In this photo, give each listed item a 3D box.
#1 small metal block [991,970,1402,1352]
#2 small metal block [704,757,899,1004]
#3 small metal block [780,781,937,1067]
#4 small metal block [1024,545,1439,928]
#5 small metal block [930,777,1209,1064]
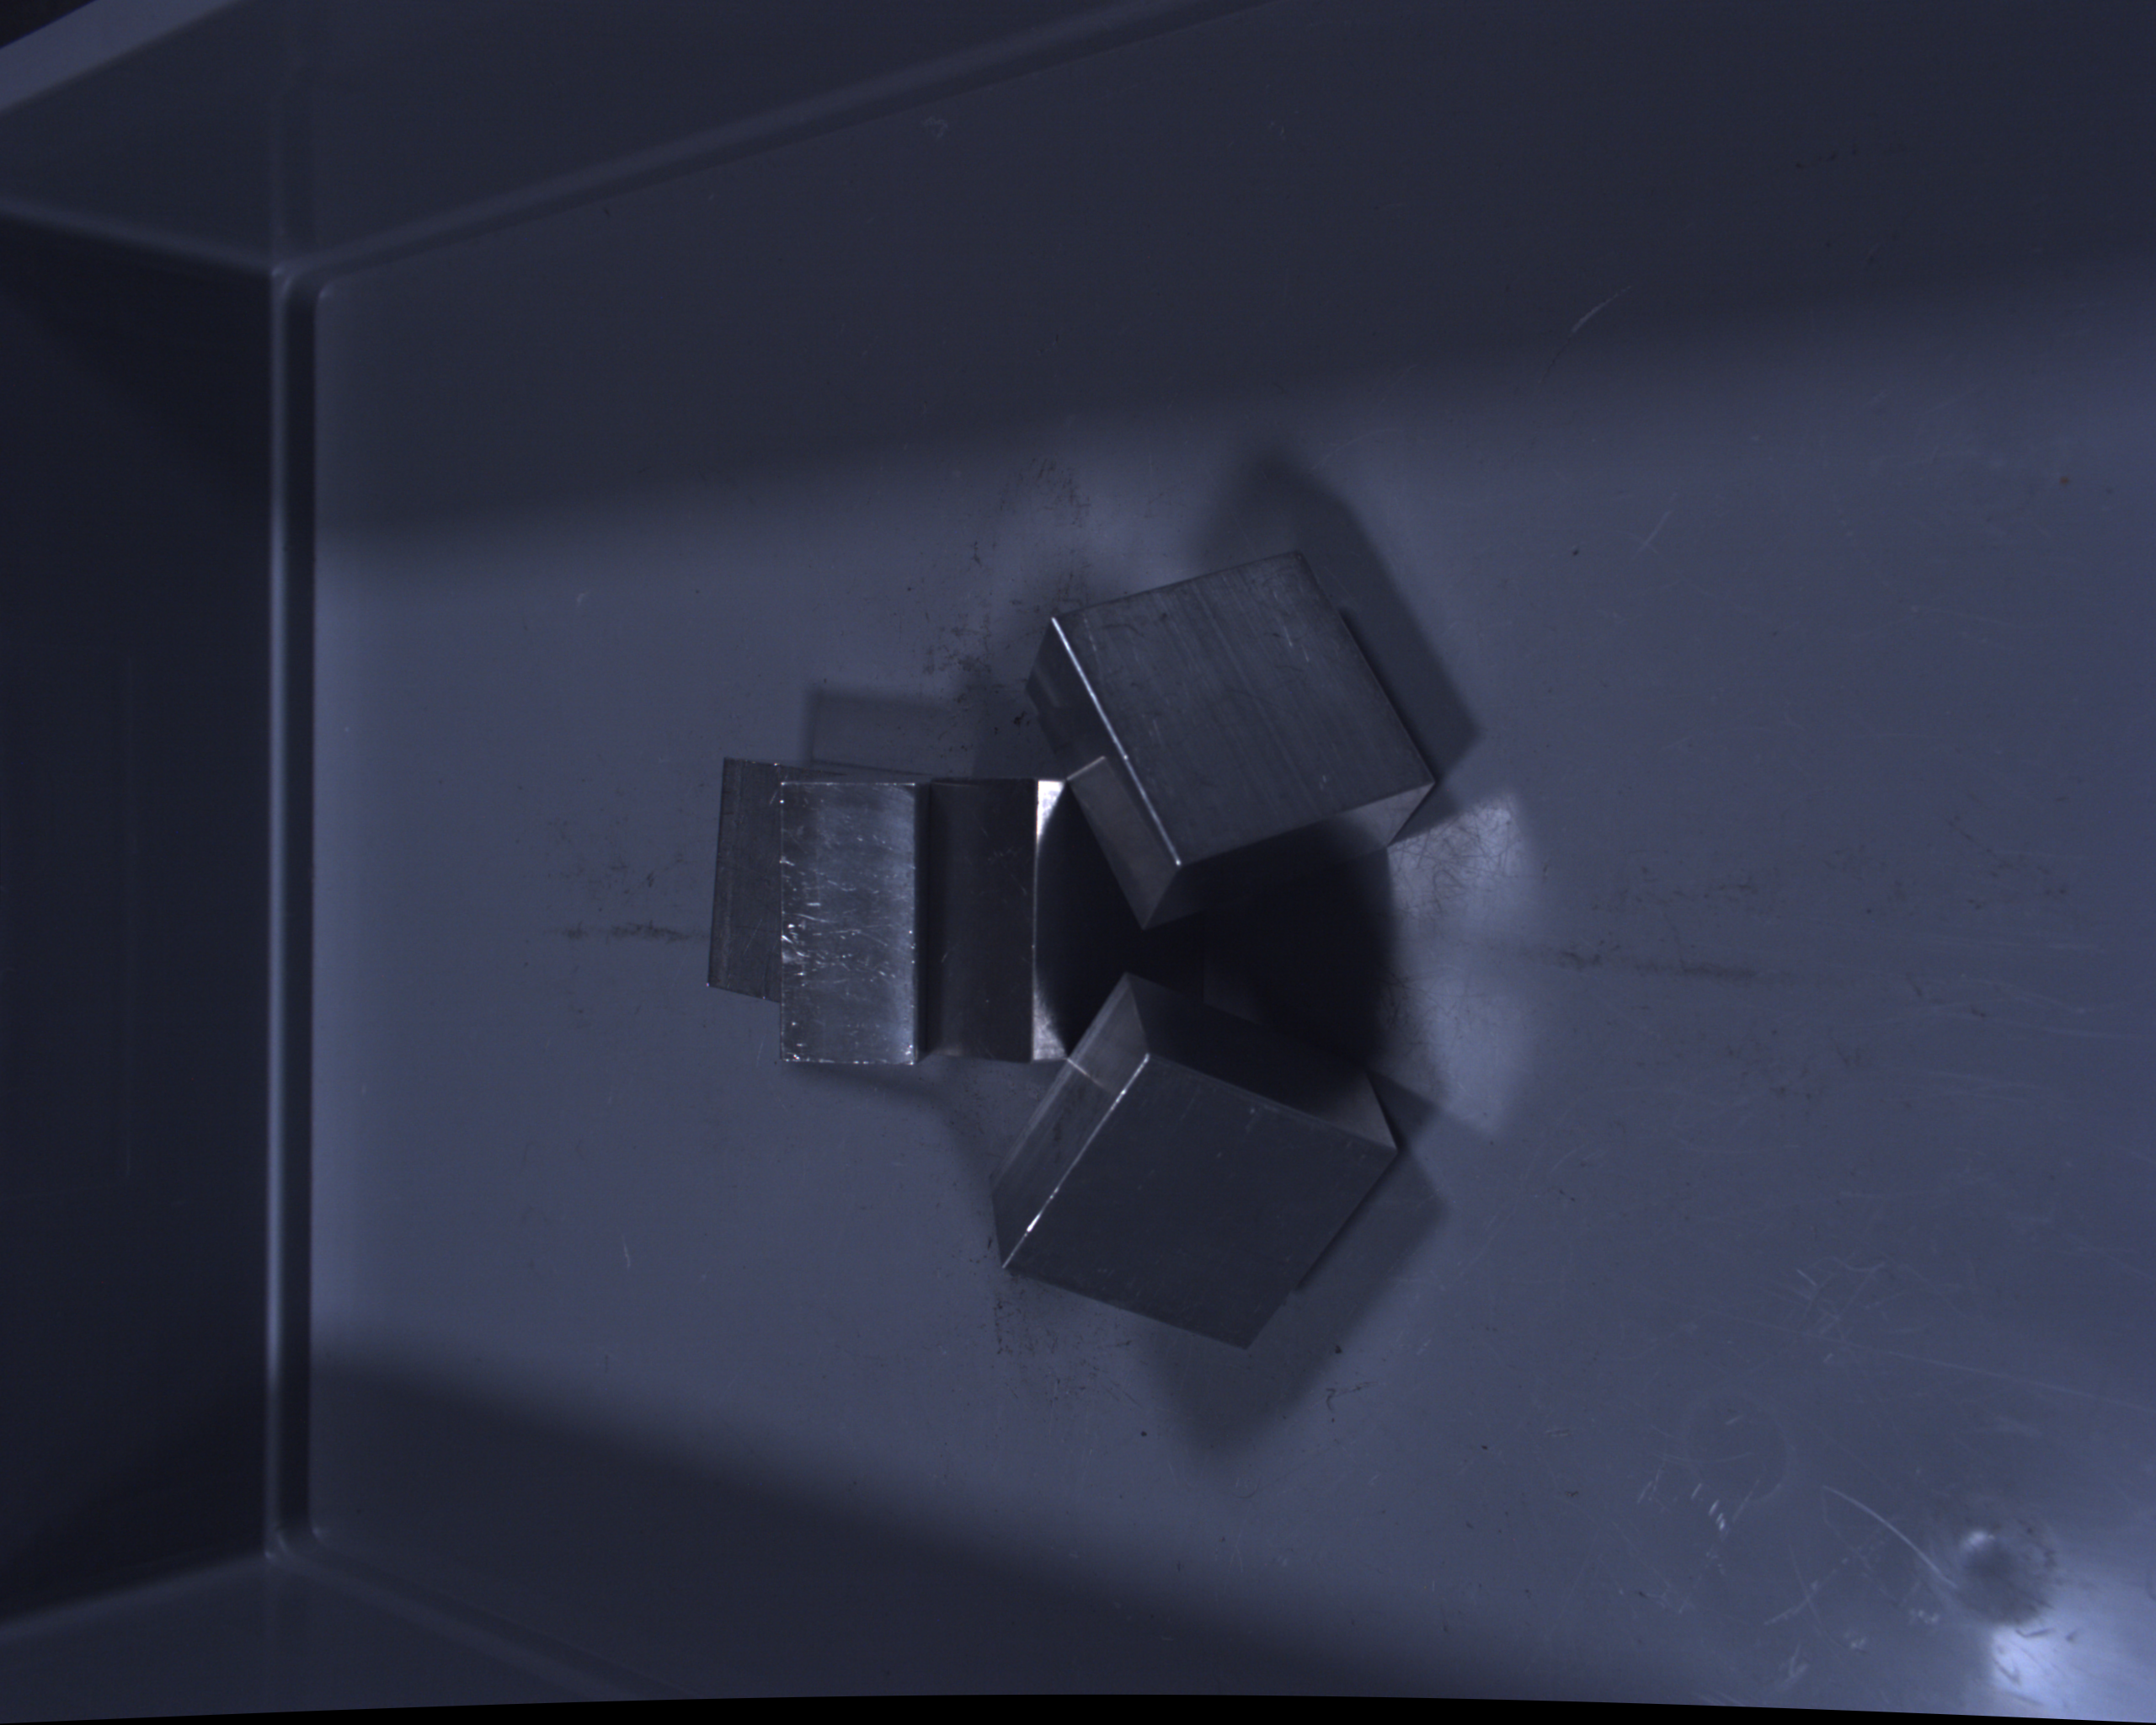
[{"bbox_3d":[0.020,0.053,0.367,0.050,0.050,0.025,-58,22,23],"label":"small metal block"},{"bbox_3d":[-0.052,0.005,0.444,0.050,0.025,0.050,9,95,39],"label":"small metal block"},{"bbox_3d":[-0.036,0.009,0.393,0.025,0.050,0.050,1,94,8],"label":"small metal block"},{"bbox_3d":[0.026,-0.023,0.362,0.050,0.050,0.025,64,157,20],"label":"small metal block"},{"bbox_3d":[-0.001,0.010,0.387,0.025,0.050,0.050,1,91,40],"label":"small metal block"}]
